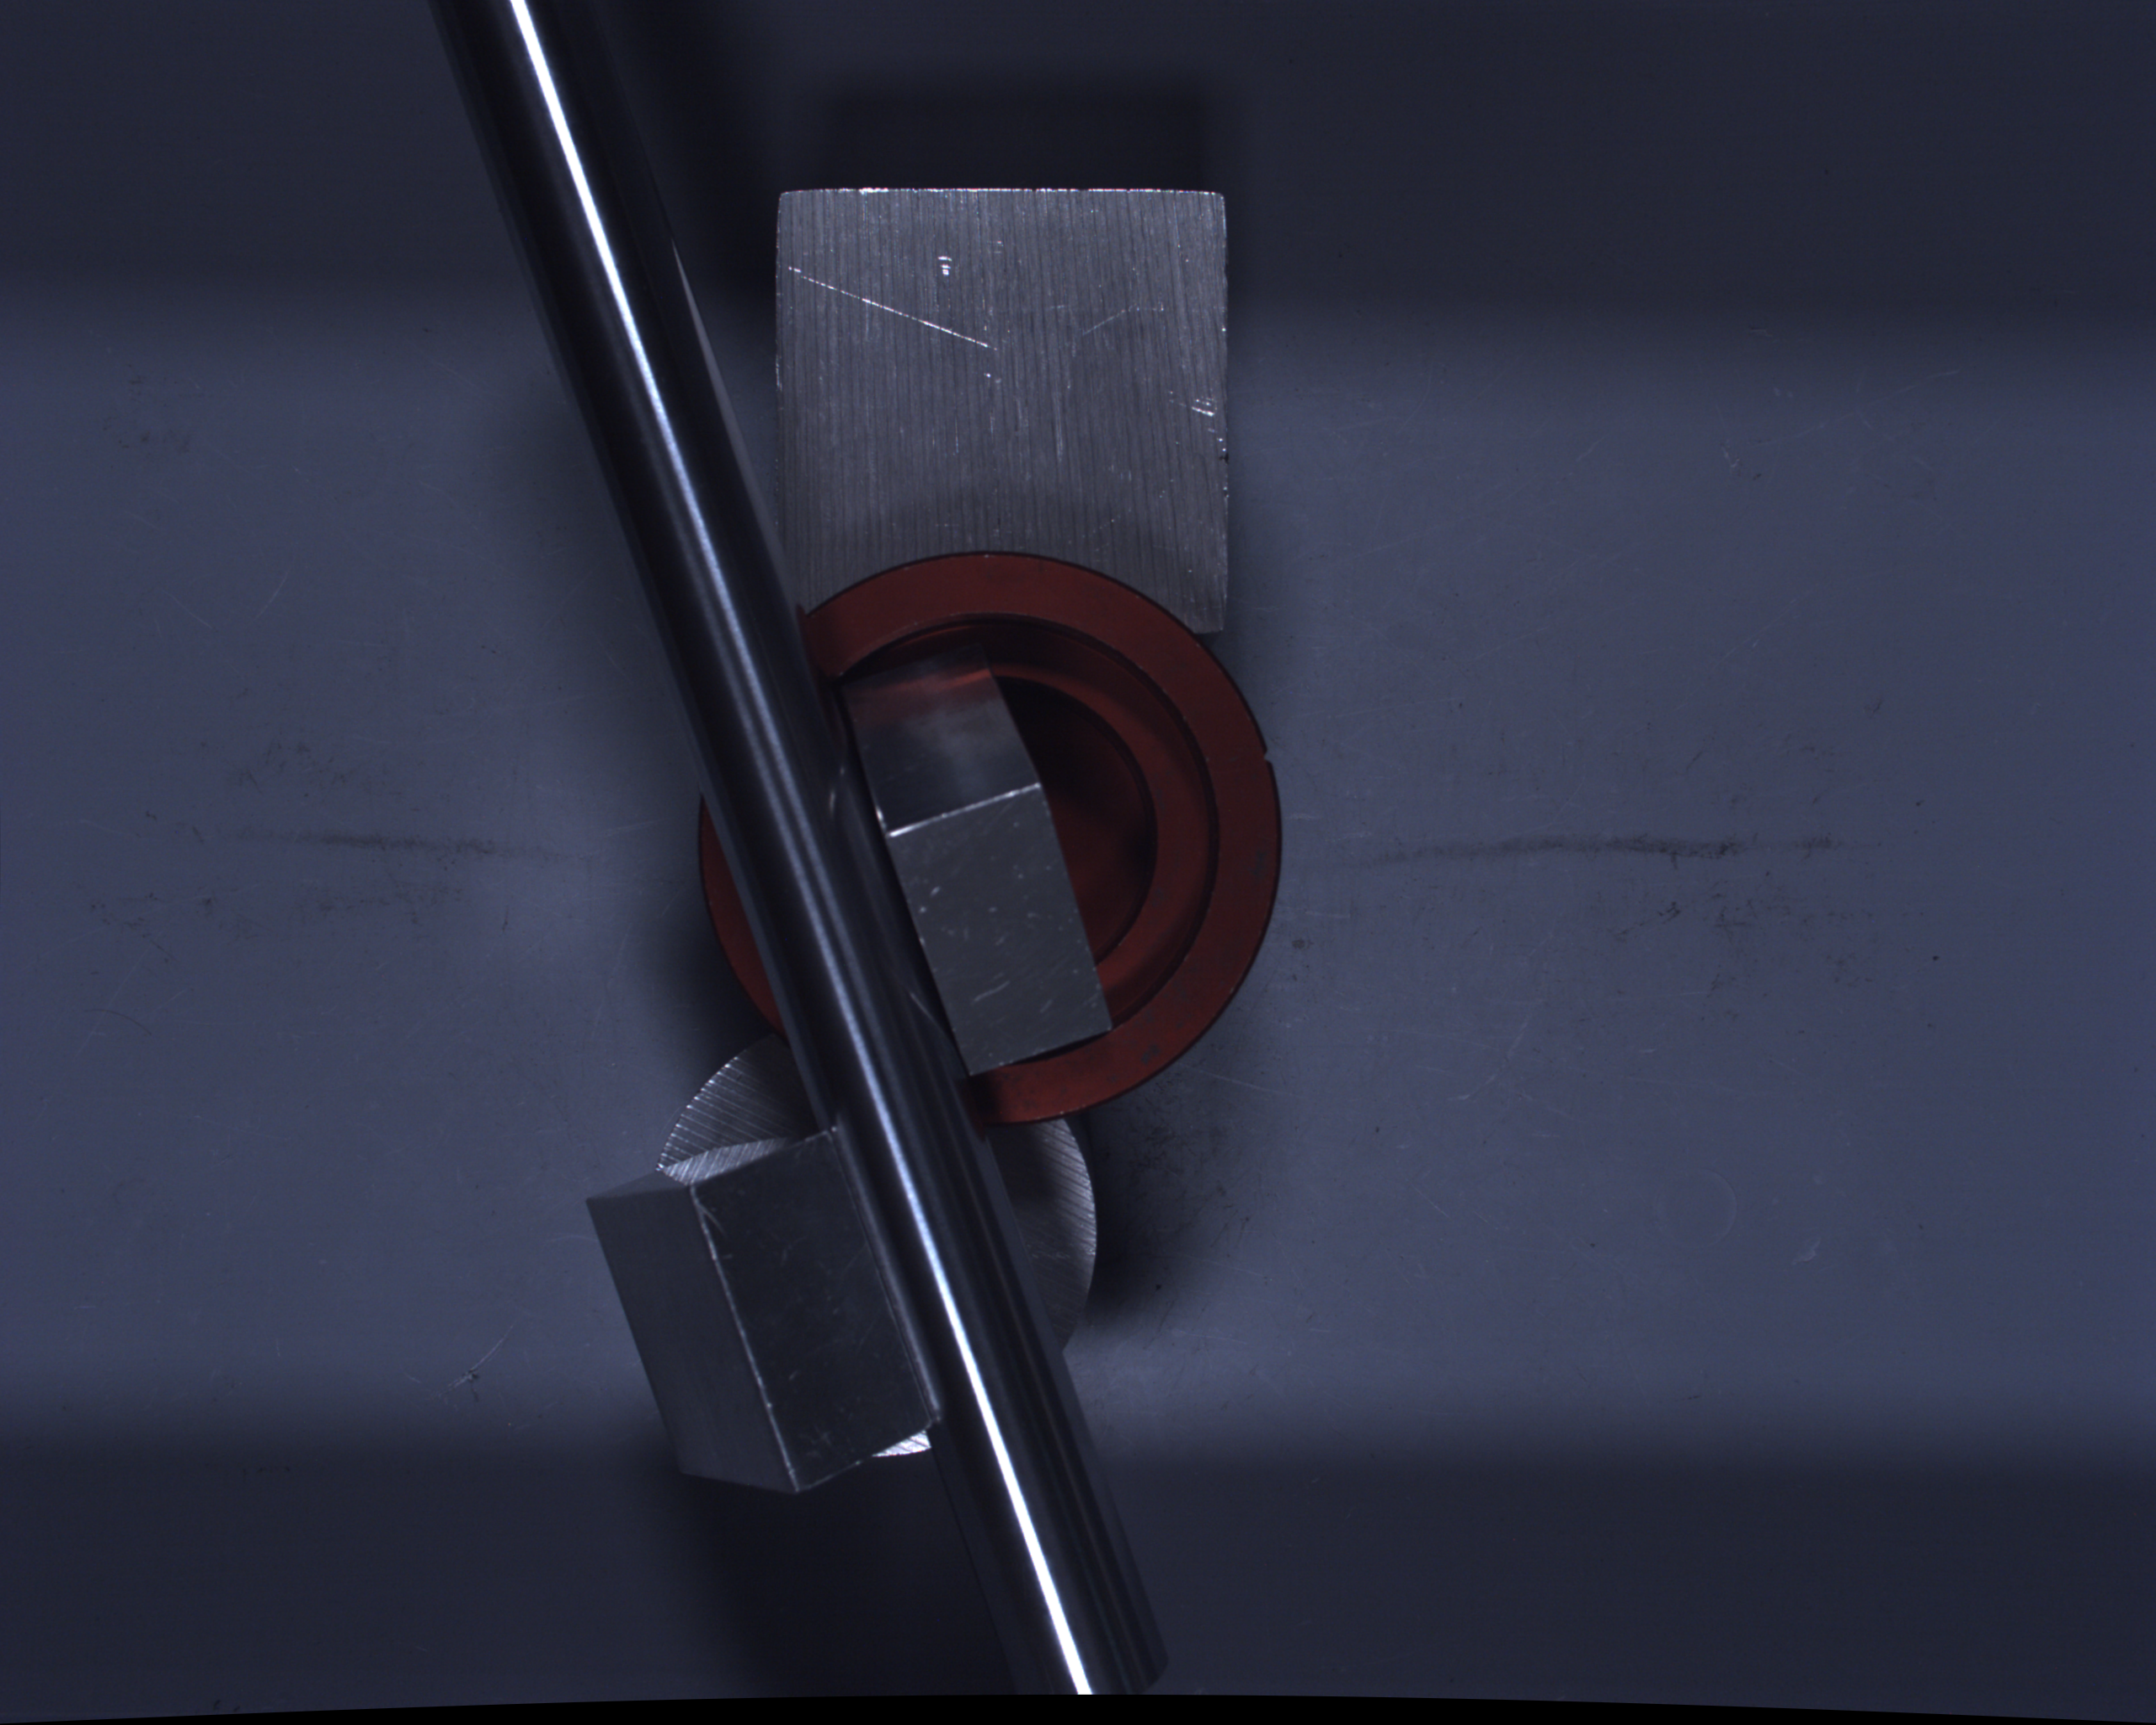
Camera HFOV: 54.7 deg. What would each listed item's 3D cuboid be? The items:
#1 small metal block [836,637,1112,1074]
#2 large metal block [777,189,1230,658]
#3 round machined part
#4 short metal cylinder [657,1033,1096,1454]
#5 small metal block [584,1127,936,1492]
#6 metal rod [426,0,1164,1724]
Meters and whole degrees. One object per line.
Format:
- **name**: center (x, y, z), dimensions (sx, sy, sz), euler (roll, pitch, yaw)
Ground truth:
- **small metal block**: center (-0.018, -0.002, 0.349), dimensions (0.025, 0.050, 0.050), euler (-19, 125, -4)
- **large metal block**: center (-0.013, -0.080, 0.396), dimensions (0.081, 0.050, 0.079), euler (0, 90, -1)
- **round machined part**: center (-0.014, -0.005, 0.372), dimensions (0.099, 0.042, 0.097), euler (0, 90, -1)
- **short metal cylinder**: center (-0.037, 0.066, 0.398), dimensions (0.081, 0.050, 0.079), euler (0, 90, -1)
- **small metal block**: center (-0.054, 0.073, 0.345), dimensions (0.025, 0.050, 0.050), euler (-19, 90, -34)
- **metal rod**: center (-0.047, -0.007, 0.340), dimensions (0.025, 0.025, 0.298), euler (-19, 90, 0)
